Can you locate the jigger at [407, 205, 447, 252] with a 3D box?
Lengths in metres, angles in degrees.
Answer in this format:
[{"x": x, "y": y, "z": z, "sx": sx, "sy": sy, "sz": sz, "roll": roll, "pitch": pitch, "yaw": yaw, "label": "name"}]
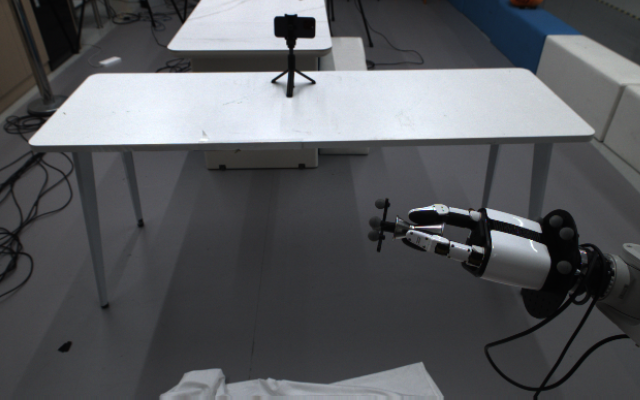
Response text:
[{"x": 0.150, "y": 0.040, "z": 0.712, "sx": 0.071, "sy": 0.043, "sz": 0.043, "roll": 8, "pitch": 35, "yaw": 9, "label": "jigger"}]
